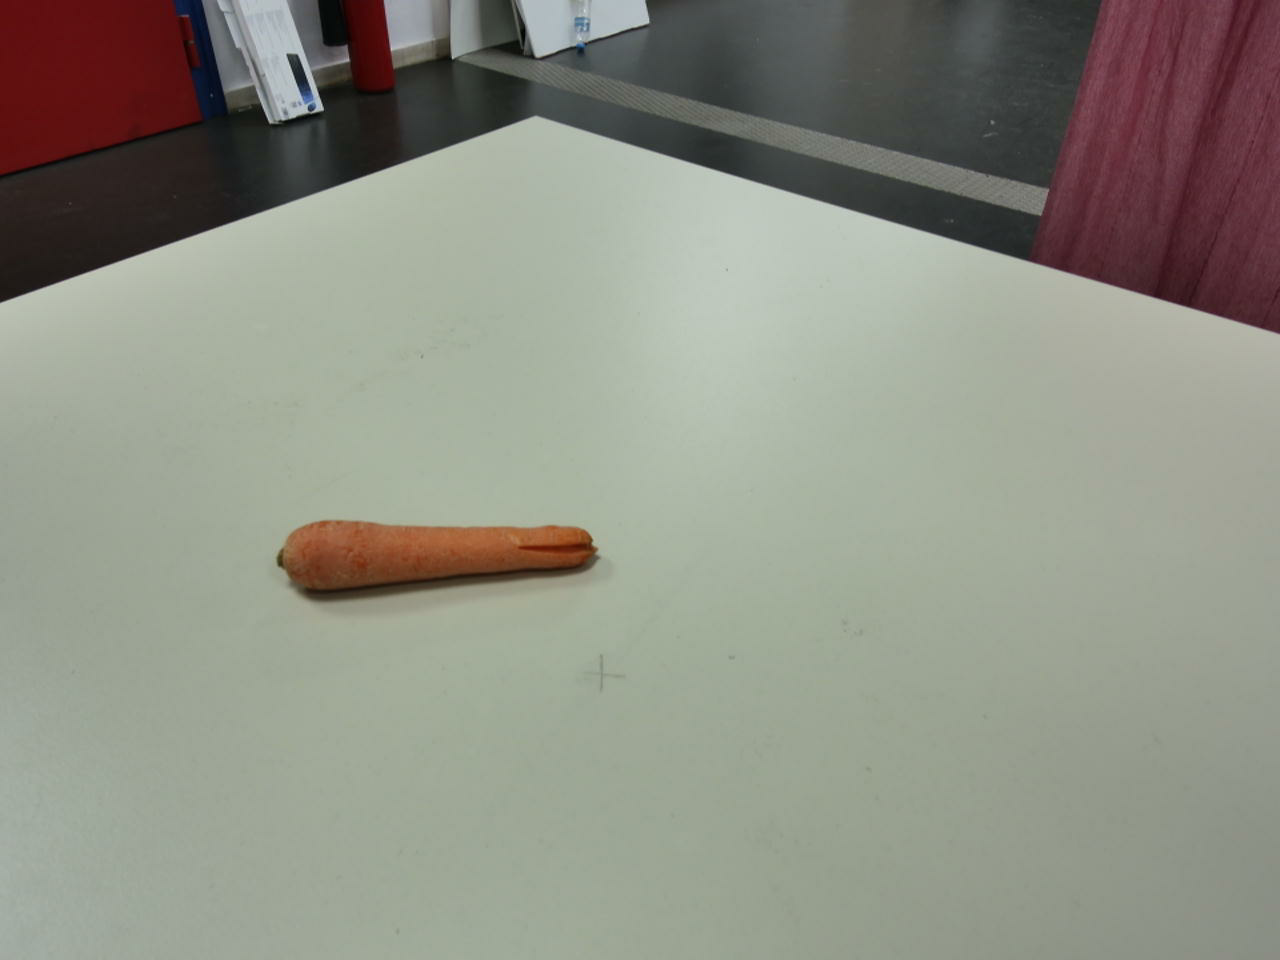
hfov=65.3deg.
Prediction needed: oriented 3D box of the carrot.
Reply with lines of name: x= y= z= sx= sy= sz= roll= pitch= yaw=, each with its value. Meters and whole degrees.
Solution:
carrot: x=-0.086 y=0.030 z=0.435 sx=0.136 sy=0.032 sz=0.030 roll=-4 pitch=36 yaw=-5
